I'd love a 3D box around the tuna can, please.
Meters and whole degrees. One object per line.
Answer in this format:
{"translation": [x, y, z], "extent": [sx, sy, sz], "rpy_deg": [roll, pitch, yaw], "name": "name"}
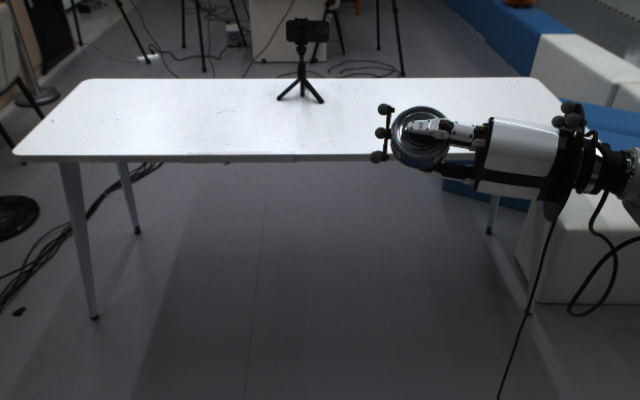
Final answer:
{"translation": [0.149, -0.097, 0.689], "extent": [0.085, 0.034, 0.085], "rpy_deg": [-3, 68, 6], "name": "tuna can"}
